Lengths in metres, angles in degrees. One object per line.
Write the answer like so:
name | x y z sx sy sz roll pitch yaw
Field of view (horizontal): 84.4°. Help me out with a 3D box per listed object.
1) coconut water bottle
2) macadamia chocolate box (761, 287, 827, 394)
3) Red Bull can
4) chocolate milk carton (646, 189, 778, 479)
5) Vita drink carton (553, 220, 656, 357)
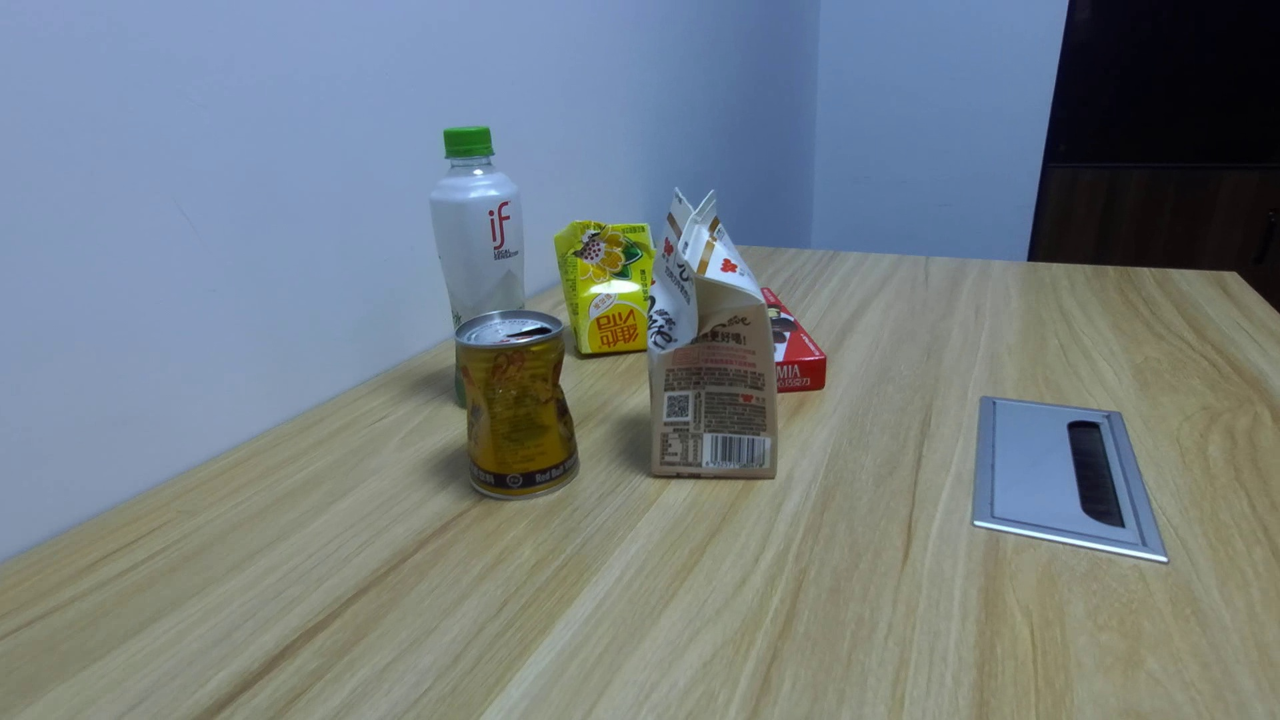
coconut water bottle | -0.109 -0.062 0.494 0.063 0.189 0.063 -3 19 1
macadamia chocolate box | 0.080 -0.020 0.581 0.096 0.027 0.177 -4 23 -2
Red Bull can | -0.070 0.024 0.406 0.072 0.092 0.072 -2 21 1
chocolate milk carton | 0.041 -0.017 0.406 0.073 0.156 0.076 -1 22 8
Vita drink carton | -0.026 -0.062 0.597 0.087 0.108 0.042 -4 8 -8
